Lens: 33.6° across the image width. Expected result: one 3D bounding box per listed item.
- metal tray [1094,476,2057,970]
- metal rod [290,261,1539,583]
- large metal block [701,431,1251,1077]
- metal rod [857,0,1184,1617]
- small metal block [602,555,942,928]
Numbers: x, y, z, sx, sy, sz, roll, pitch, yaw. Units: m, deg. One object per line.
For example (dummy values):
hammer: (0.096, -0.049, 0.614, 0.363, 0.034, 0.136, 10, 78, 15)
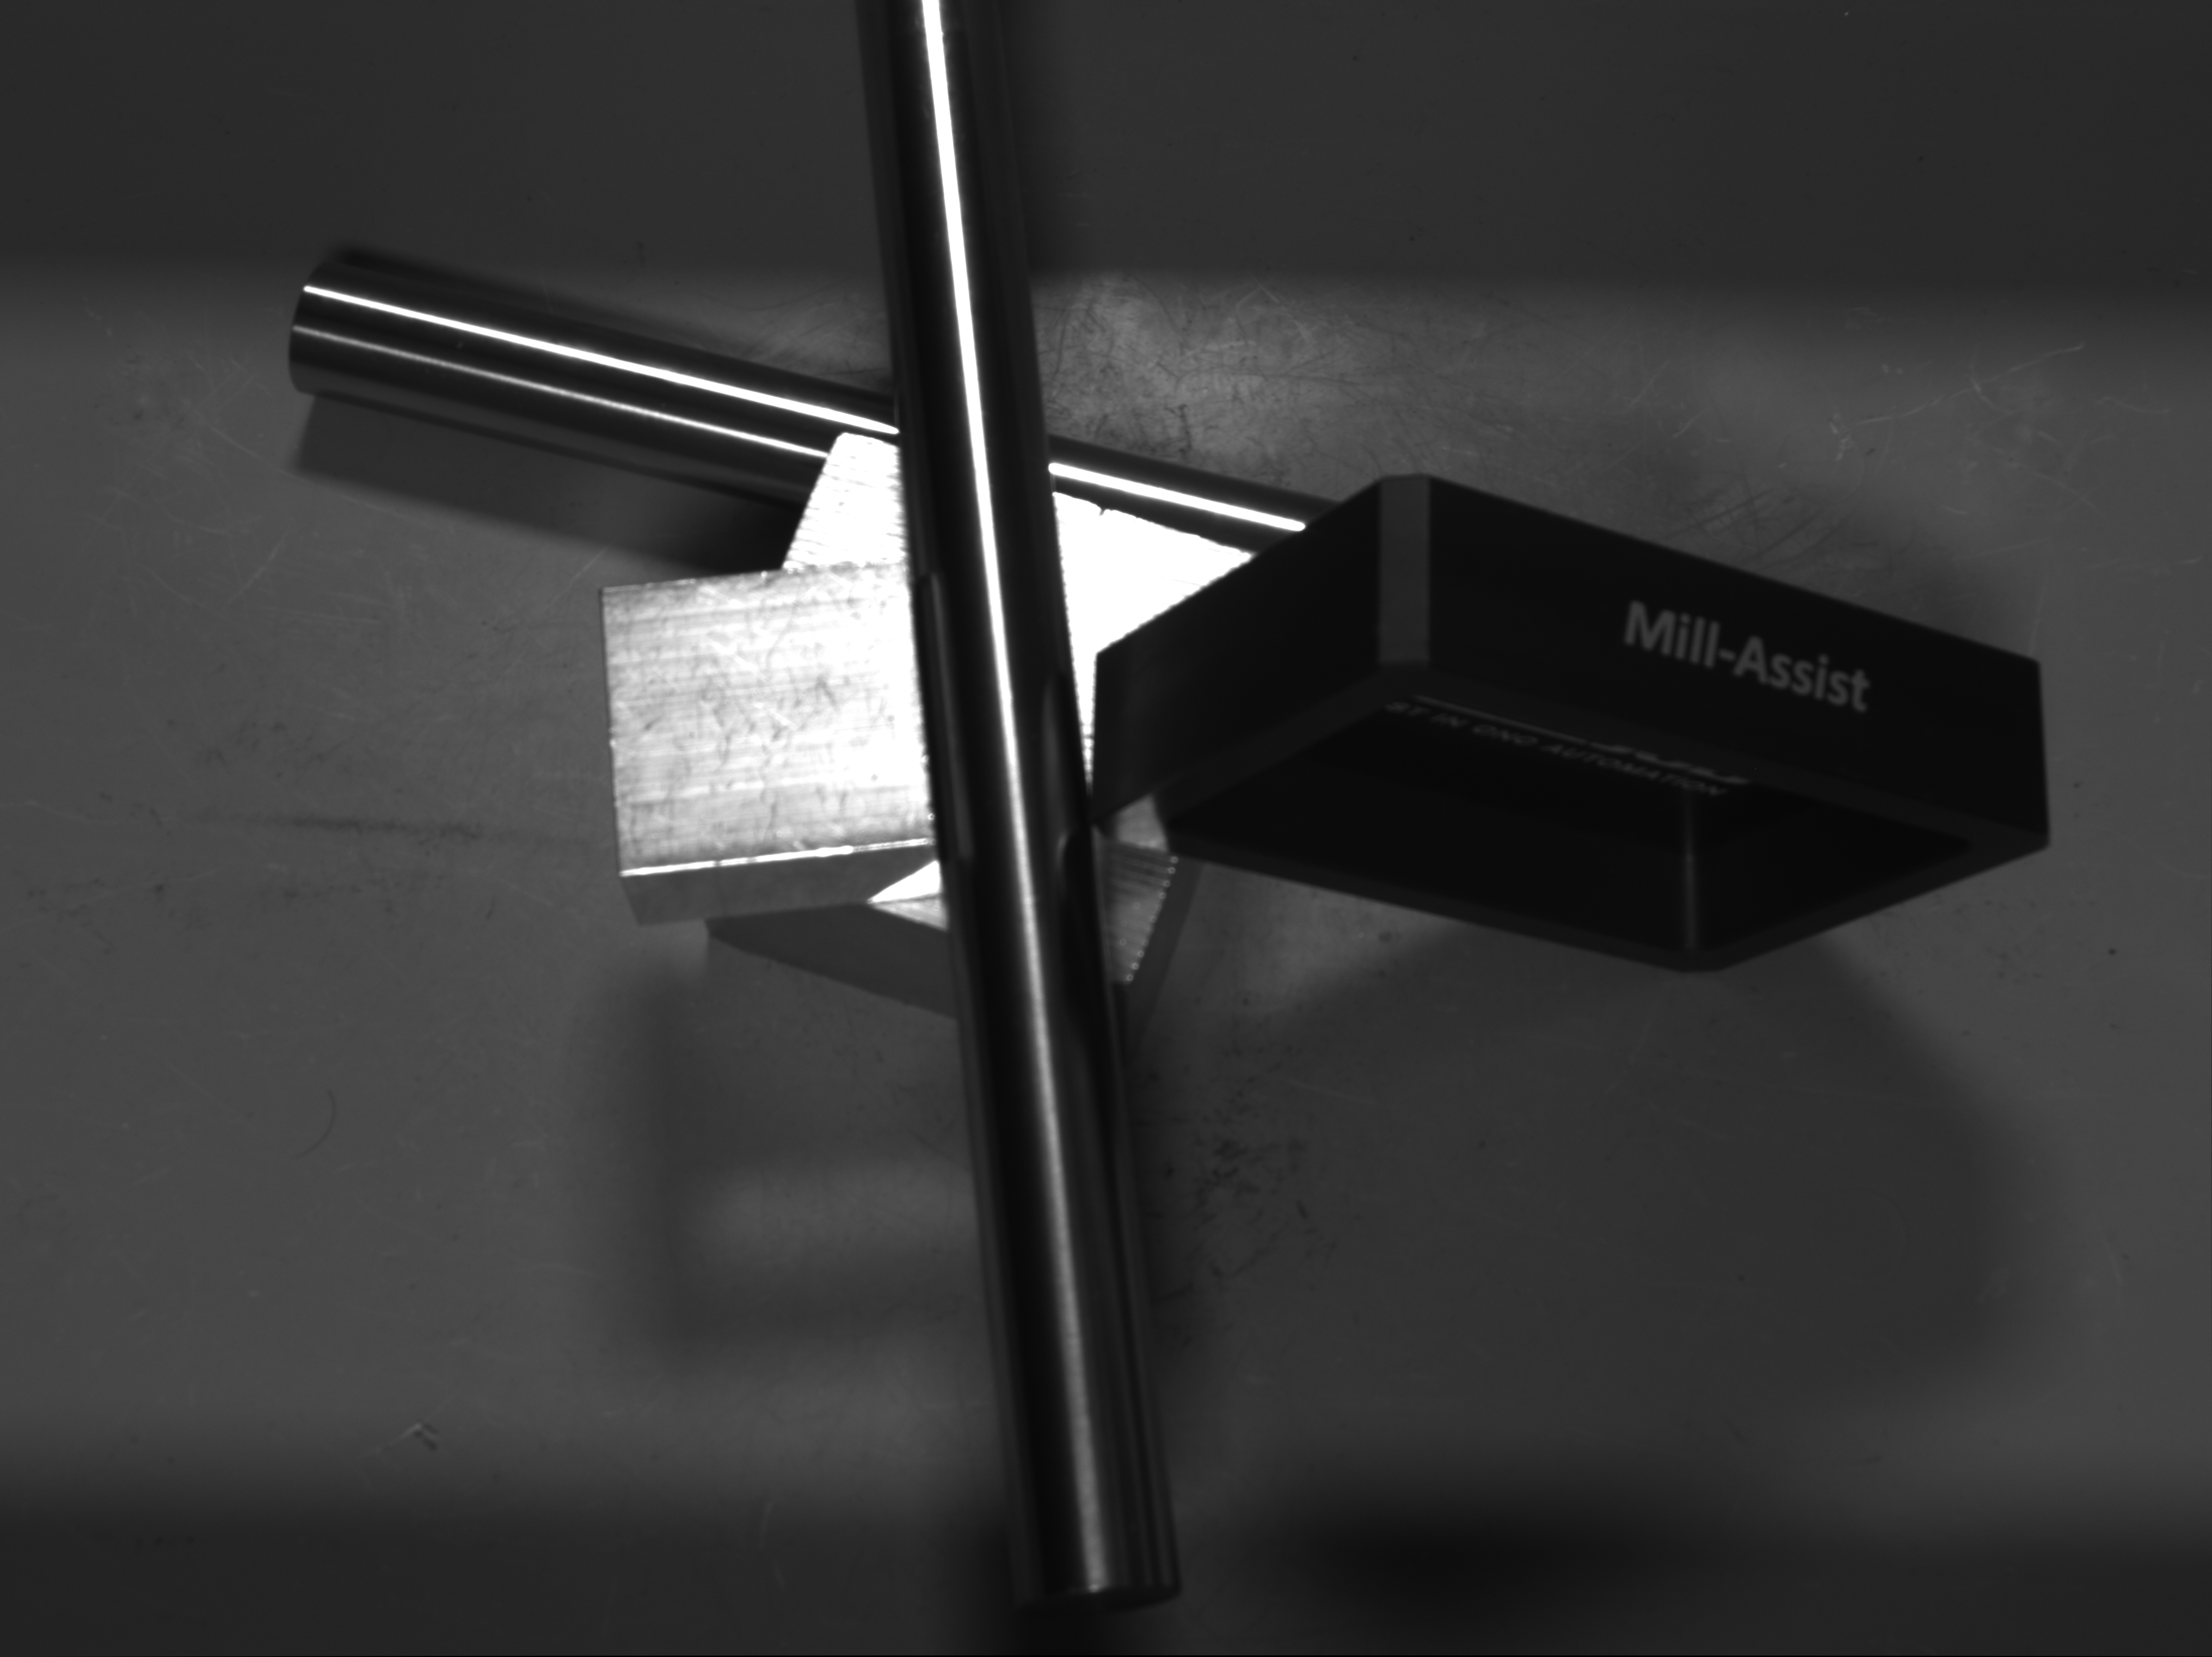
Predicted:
metal tray: (0.075, -0.013, 0.586, 0.130, 0.090, 0.030, 13, 67, -29)
metal rod: (-0.001, -0.057, 0.665, 0.300, 0.025, 0.025, 14, 70, 5)
large metal block: (-0.021, -0.012, 0.635, 0.080, 0.050, 0.080, 17, 71, 6)
metal rod: (-0.017, -0.024, 0.599, 0.025, 0.025, 0.300, -6, 70, -2)
small metal block: (-0.054, -0.014, 0.596, 0.050, 0.025, 0.050, -6, 69, -2)
